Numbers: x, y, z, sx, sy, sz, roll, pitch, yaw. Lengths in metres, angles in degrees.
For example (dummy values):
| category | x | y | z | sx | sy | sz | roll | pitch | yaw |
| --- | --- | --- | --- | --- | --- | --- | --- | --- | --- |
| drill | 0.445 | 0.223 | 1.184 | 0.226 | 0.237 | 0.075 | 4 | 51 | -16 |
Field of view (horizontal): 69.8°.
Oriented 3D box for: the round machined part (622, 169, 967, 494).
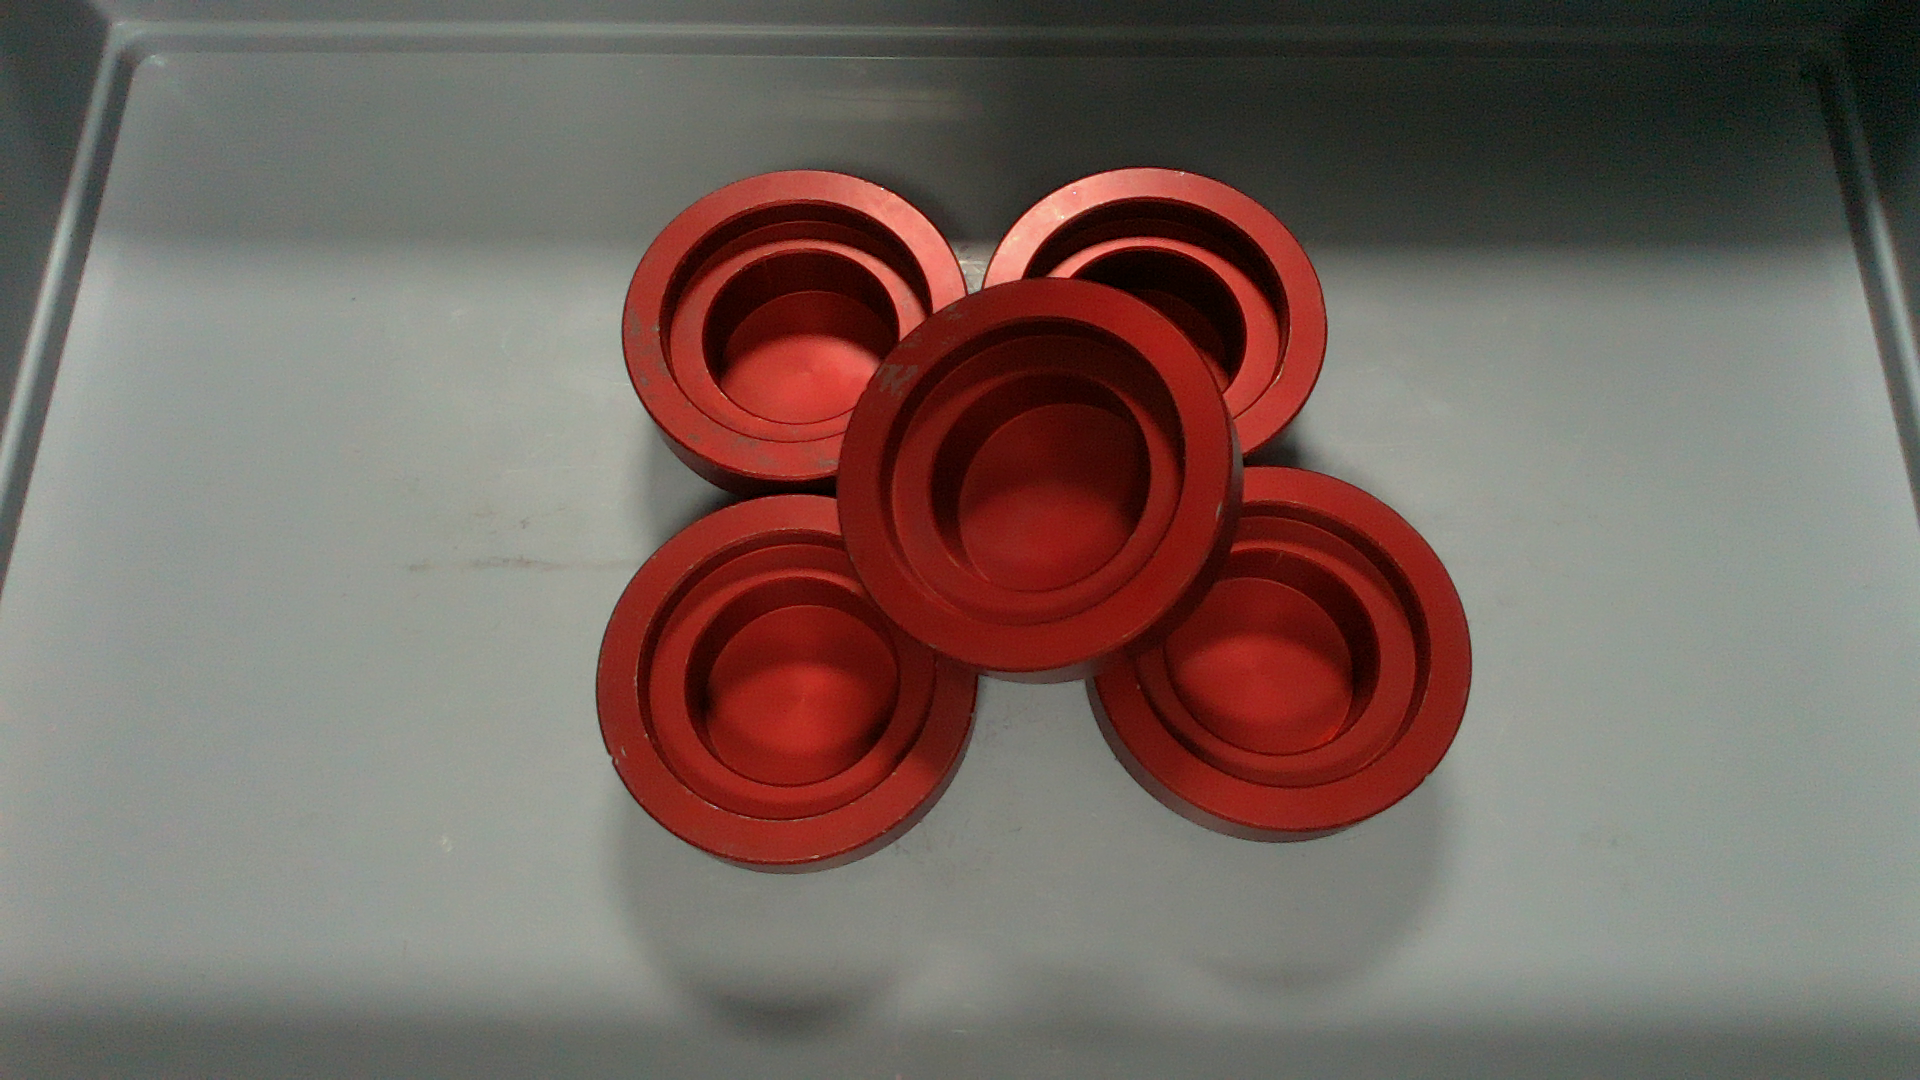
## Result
| category | x | y | z | sx | sy | sz | roll | pitch | yaw |
| --- | --- | --- | --- | --- | --- | --- | --- | --- | --- |
| round machined part | -0.046 | -0.056 | 0.404 | 0.098 | 0.042 | 0.098 | 0 | 70 | 0 |

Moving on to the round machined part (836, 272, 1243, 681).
| category | x | y | z | sx | sy | sz | roll | pitch | yaw |
| --- | --- | --- | --- | --- | --- | --- | --- | --- | --- |
| round machined part | 0.022 | -0.013 | 0.344 | 0.098 | 0.042 | 0.098 | -5 | 74 | 18 |

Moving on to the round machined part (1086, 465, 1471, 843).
| category | x | y | z | sx | sy | sz | roll | pitch | yaw |
| --- | --- | --- | --- | --- | --- | --- | --- | --- | --- |
| round machined part | 0.082 | 0.033 | 0.373 | 0.098 | 0.042 | 0.098 | 0 | 70 | 0 |

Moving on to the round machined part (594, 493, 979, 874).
| category | x | y | z | sx | sy | sz | roll | pitch | yaw |
| --- | --- | --- | --- | --- | --- | --- | --- | --- | --- |
| round machined part | -0.044 | 0.040 | 0.369 | 0.098 | 0.042 | 0.098 | 0 | 70 | 0 |

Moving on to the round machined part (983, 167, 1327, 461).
| category | x | y | z | sx | sy | sz | roll | pitch | yaw |
| --- | --- | --- | --- | --- | --- | --- | --- | --- | --- |
| round machined part | 0.054 | -0.057 | 0.405 | 0.098 | 0.042 | 0.098 | 0 | 70 | 0 |
